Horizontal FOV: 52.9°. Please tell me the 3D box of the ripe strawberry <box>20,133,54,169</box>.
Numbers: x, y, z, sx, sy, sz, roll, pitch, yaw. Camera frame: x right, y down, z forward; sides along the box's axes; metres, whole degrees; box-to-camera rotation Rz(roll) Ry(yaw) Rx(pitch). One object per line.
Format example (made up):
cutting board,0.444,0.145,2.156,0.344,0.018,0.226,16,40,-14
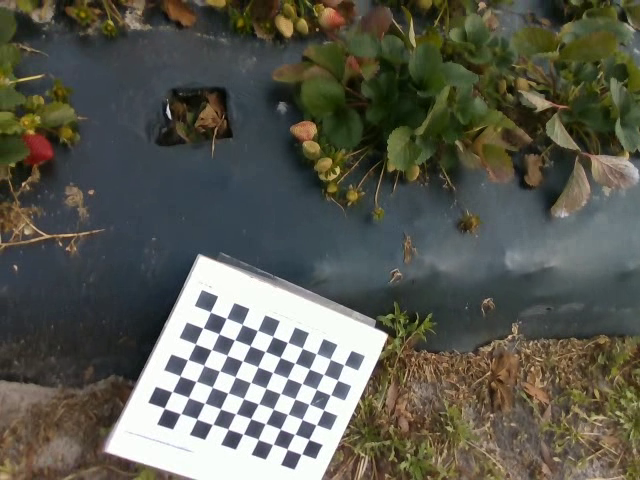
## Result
ripe strawberry,-0.359,-0.116,0.812,0.046,0.043,0.047,21,-5,13
